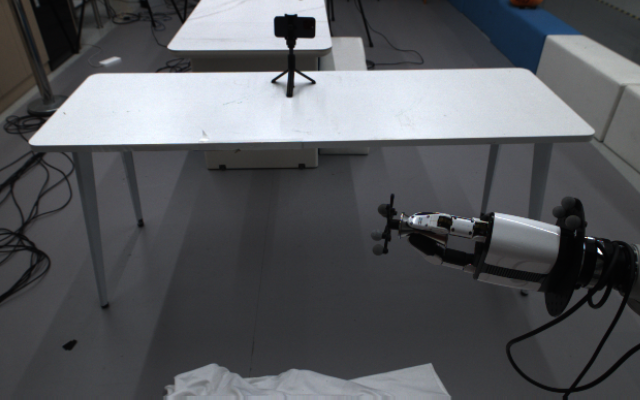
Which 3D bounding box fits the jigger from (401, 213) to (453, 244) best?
[{"bbox_3d":[0.155,0.036,0.689,0.071,0.043,0.043,7,35,15],"label":"jigger"}]
